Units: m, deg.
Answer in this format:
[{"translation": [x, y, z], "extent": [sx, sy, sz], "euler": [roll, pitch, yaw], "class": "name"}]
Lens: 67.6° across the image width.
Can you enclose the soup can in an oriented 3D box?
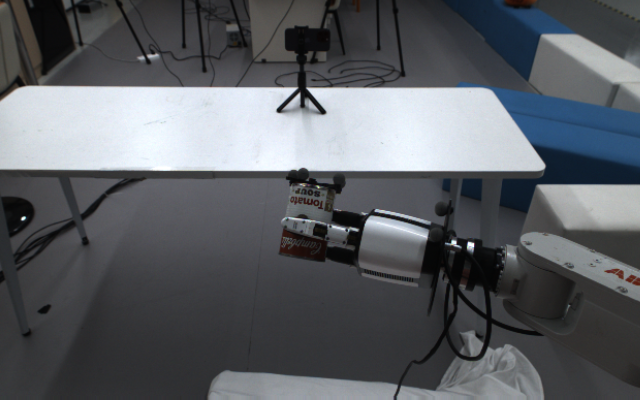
[{"translation": [-0.016, 0.032, 0.684], "extent": [0.067, 0.101, 0.067], "euler": [9, -5, 1], "class": "soup can"}]
